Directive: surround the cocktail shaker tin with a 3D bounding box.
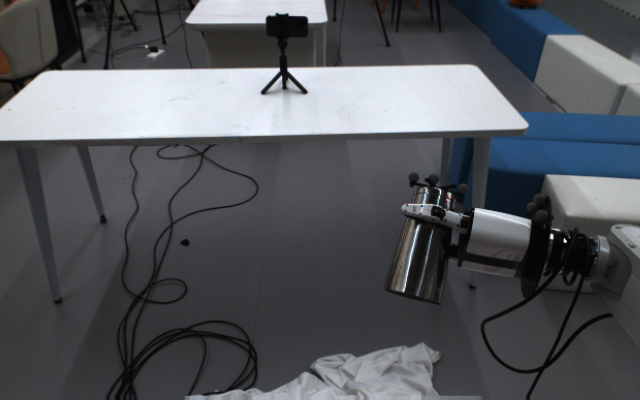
[{"bbox_3d":[0.166,0.065,0.761,0.093,0.093,0.170,13,76,15],"label":"cocktail shaker tin"}]
